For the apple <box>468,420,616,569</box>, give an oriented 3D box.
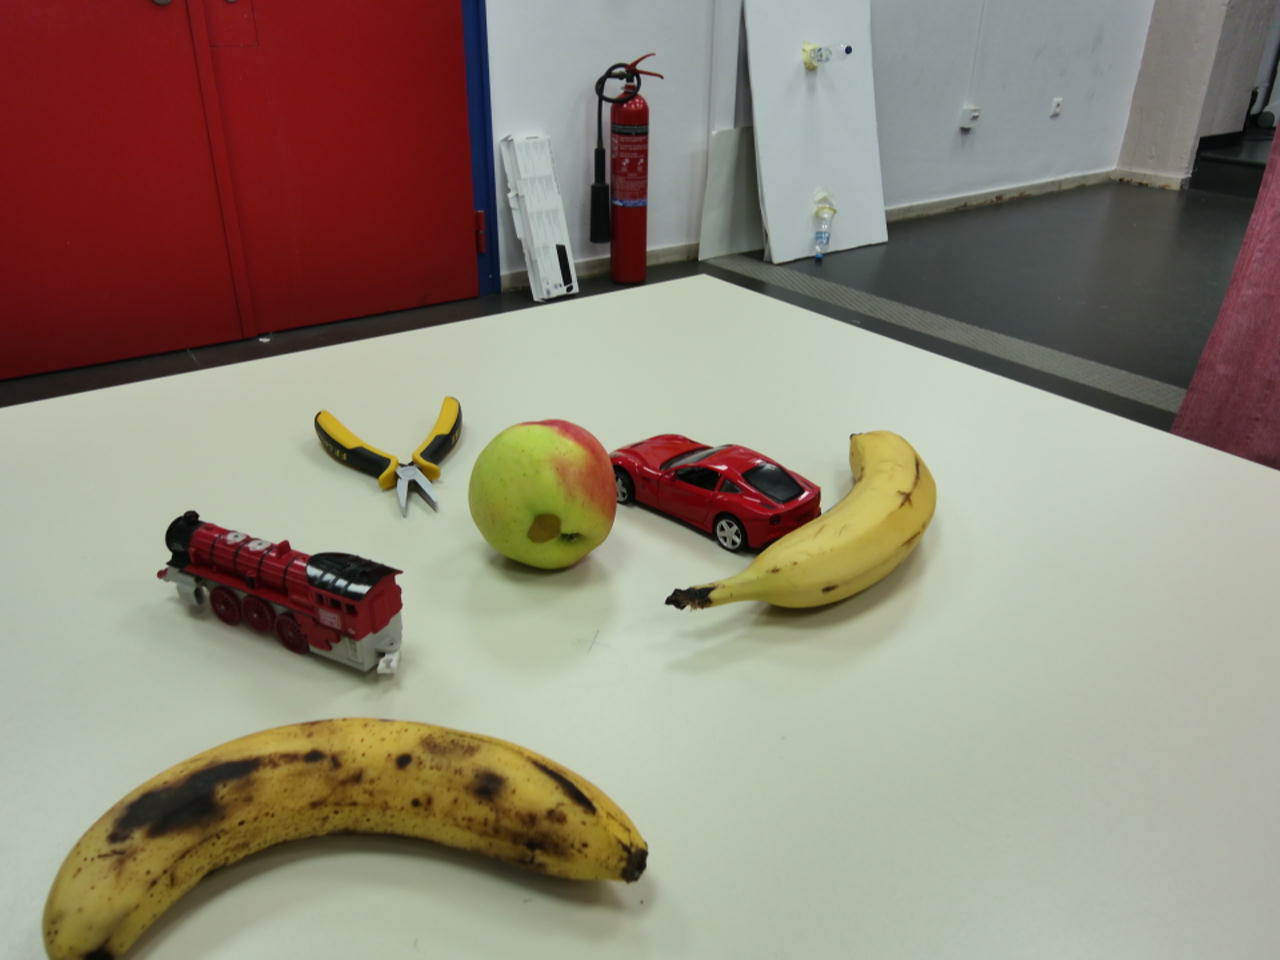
[{"bbox_3d":[-0.047,0.006,0.507,0.075,0.074,0.075,16,29,29],"label":"apple"}]
